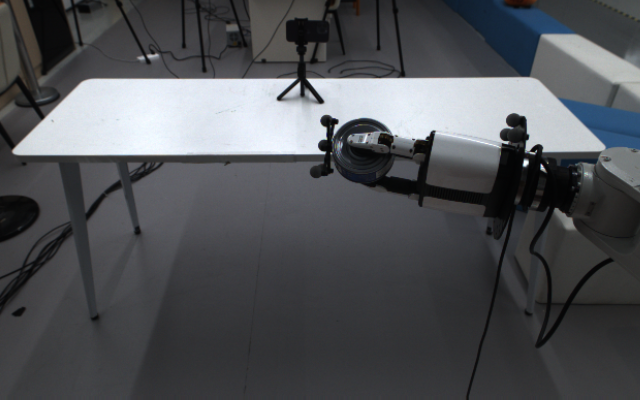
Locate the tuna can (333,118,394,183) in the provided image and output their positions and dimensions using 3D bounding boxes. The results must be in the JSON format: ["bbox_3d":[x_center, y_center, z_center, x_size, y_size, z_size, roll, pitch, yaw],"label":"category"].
[{"bbox_3d":[0.062,-0.065,0.657,0.085,0.034,0.085,-2,69,6],"label":"tuna can"}]
